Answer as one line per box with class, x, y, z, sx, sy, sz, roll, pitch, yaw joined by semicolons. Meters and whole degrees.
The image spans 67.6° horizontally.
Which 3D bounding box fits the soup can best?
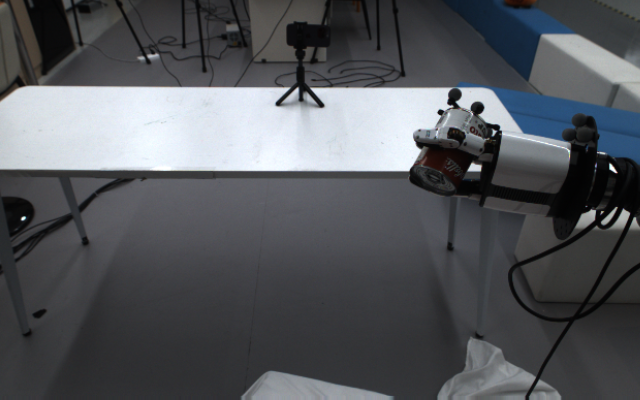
soup can;0.176;-0.066;0.650;0.067;0.067;0.101;23;73;28
